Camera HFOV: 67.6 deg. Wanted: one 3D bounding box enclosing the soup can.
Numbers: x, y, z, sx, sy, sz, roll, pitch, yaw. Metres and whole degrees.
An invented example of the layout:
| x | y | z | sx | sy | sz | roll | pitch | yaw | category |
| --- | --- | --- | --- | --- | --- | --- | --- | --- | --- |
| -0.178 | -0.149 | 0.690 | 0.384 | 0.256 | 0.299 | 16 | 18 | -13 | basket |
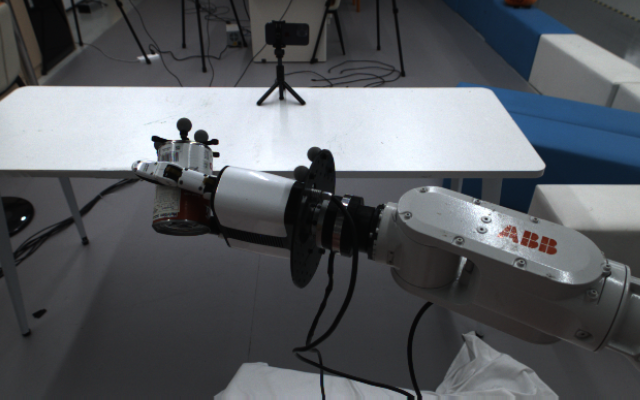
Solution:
| x | y | z | sx | sy | sz | roll | pitch | yaw | category |
| --- | --- | --- | --- | --- | --- | --- | --- | --- | --- |
| -0.163 | -0.013 | 0.585 | 0.067 | 0.067 | 0.101 | -1 | 71 | -5 | soup can |
